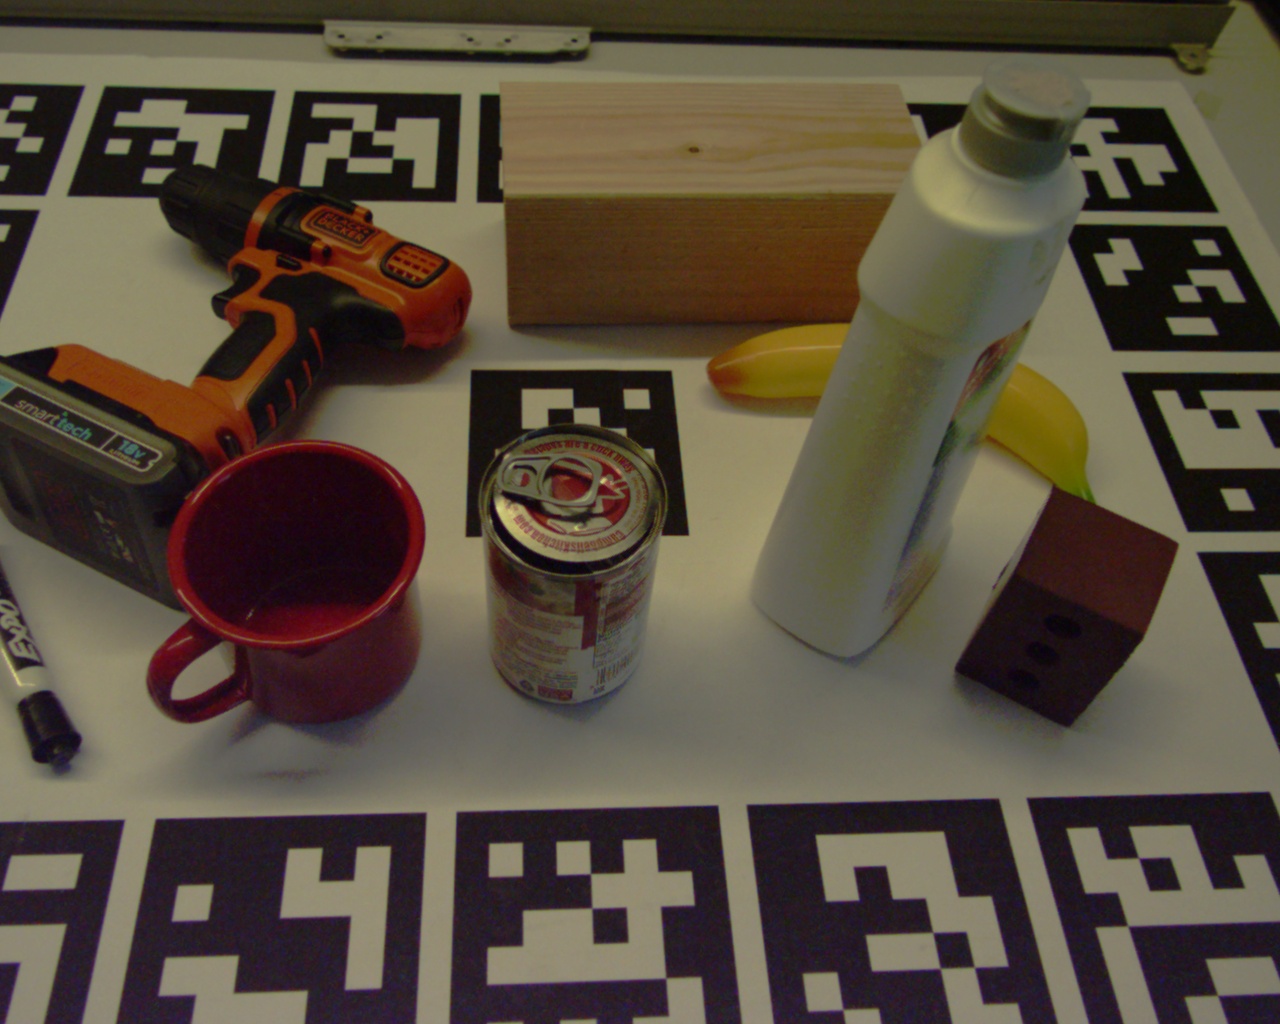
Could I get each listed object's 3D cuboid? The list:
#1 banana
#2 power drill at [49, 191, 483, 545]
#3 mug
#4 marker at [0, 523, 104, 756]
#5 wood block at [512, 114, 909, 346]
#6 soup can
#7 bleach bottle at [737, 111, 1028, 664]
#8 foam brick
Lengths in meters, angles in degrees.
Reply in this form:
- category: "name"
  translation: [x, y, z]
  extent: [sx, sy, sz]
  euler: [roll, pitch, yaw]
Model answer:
- category: "banana"
  translation: [0.117, -0.067, 0.592]
  extent: [0.198, 0.039, 0.074]
  euler: [14, 68, 3]
- category: "power drill"
  translation: [-0.197, -0.076, 0.572]
  extent: [0.185, 0.057, 0.186]
  euler: [26, 55, 10]
- category: "mug"
  translation: [-0.141, 0.033, 0.475]
  extent: [0.094, 0.081, 0.116]
  euler: [38, 63, 18]
- category: "marker"
  translation: [-0.259, 0.054, 0.493]
  extent: [0.019, 0.019, 0.122]
  euler: [-27, 61, -19]
- category: "wood block"
  translation: [0.034, -0.153, 0.620]
  extent: [0.206, 0.091, 0.090]
  euler: [-1, 55, -5]
- category: "soup can"
  translation: [-0.032, 0.021, 0.473]
  extent: [0.068, 0.102, 0.068]
  euler: [3, 50, -5]
- category: "bleach bottle"
  translation: [0.096, -0.043, 0.445]
  extent: [0.068, 0.250, 0.102]
  euler: [24, 55, 12]
- category: "foam brick"
  translation: [0.170, 0.046, 0.495]
  extent: [0.053, 0.078, 0.051]
  euler: [28, 54, 17]
